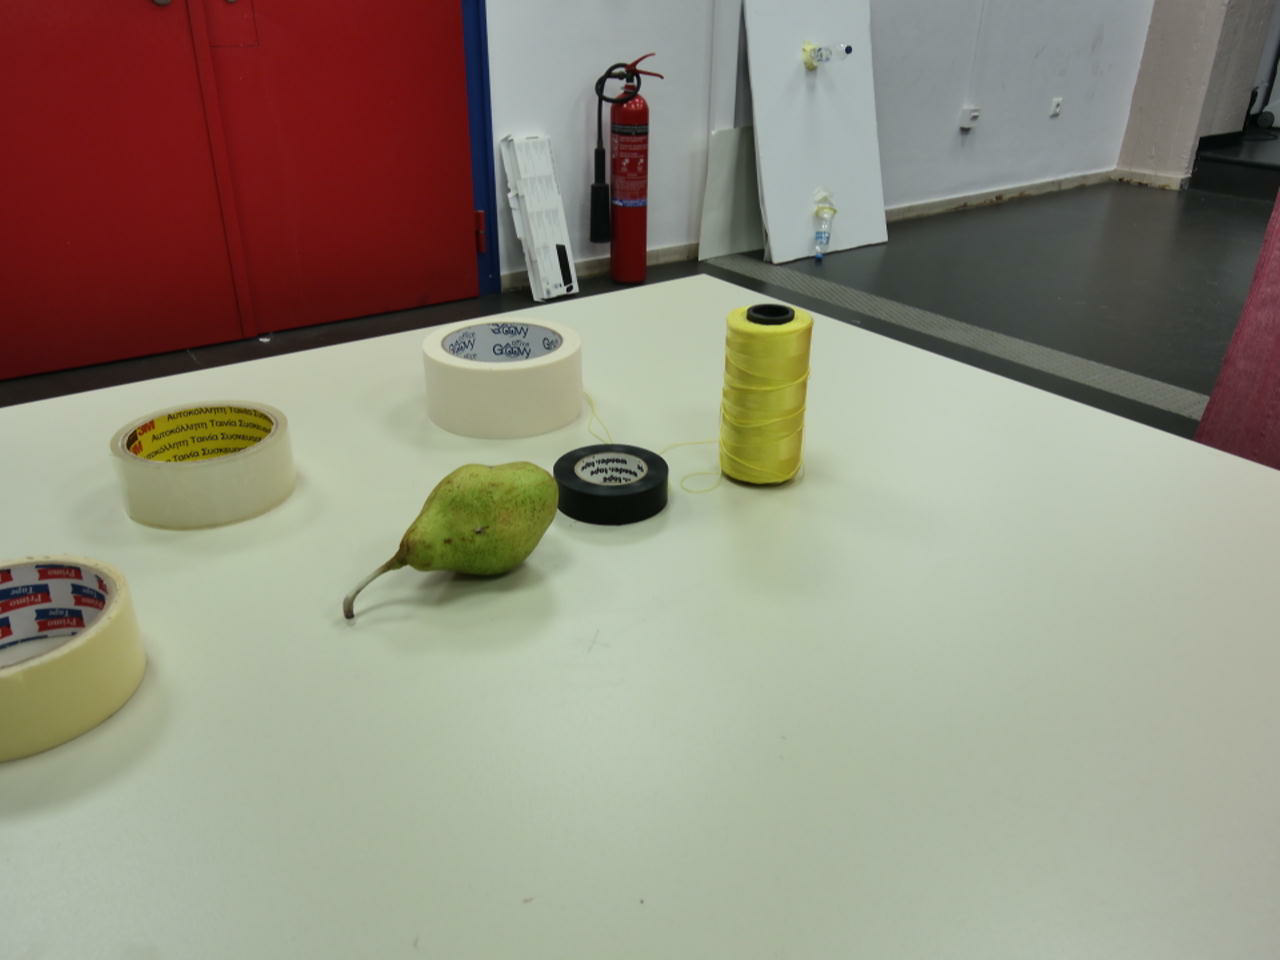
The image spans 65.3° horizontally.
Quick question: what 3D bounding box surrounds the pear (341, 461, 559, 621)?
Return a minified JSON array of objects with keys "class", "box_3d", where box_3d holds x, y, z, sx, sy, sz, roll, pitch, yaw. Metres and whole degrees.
[{"class":"pear","box_3d":[-0.094,0.022,0.487,0.111,0.056,0.056,-10,27,-20]}]
